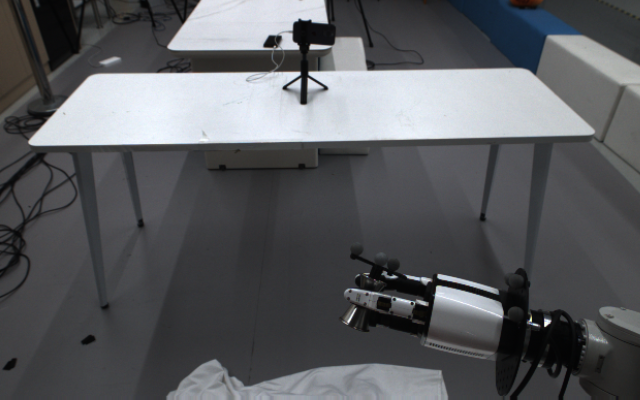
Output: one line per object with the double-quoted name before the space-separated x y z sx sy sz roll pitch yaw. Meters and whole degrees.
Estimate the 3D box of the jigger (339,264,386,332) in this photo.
"jigger" 0.057 0.133 0.642 0.043 0.071 0.043 24 -3 1
